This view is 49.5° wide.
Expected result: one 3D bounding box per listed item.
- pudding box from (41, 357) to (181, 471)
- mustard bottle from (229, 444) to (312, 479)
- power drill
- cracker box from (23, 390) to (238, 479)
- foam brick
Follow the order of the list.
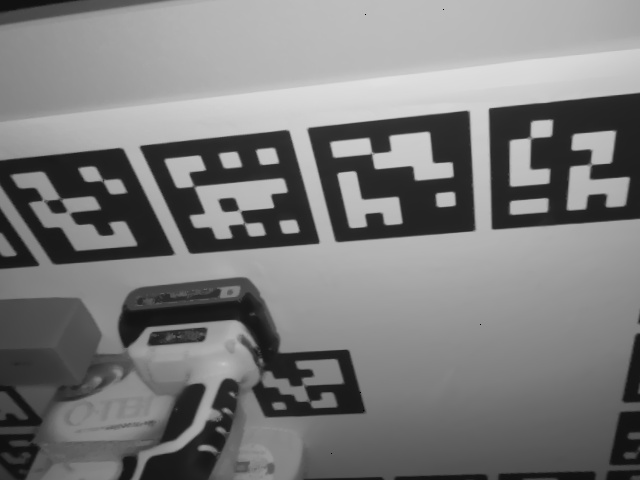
[{"bbox_3d":[-0.165,0.146,0.593,0.113,0.091,0.038,-7,130,7],"label":"pudding box"},{"bbox_3d":[-0.062,0.283,0.634,0.096,0.193,0.058,5,128,2],"label":"mustard bottle"},{"bbox_3d":[-0.123,0.137,0.491,0.183,0.189,0.057,-6,132,11],"label":"power drill"},{"bbox_3d":[-0.167,0.218,0.582,0.163,0.215,0.071,-9,130,9],"label":"cracker box"},{"bbox_3d":[-0.231,0.082,0.588,0.078,0.052,0.052,-4,127,9],"label":"foam brick"}]
